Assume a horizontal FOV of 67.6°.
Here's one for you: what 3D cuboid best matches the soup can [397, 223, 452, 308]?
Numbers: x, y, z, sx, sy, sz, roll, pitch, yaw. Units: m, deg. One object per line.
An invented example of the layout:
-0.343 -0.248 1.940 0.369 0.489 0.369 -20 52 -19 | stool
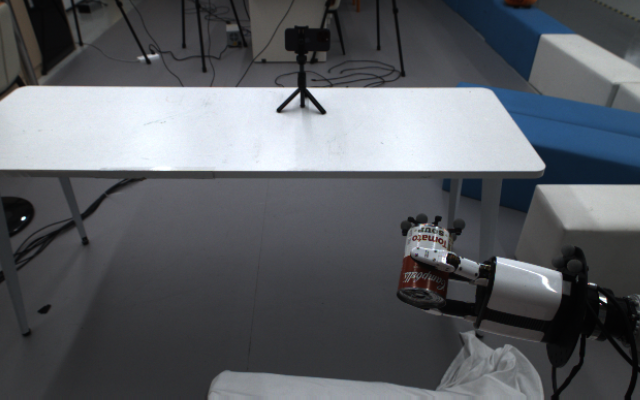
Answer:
0.151 0.090 0.683 0.067 0.067 0.101 9 60 10 | soup can
